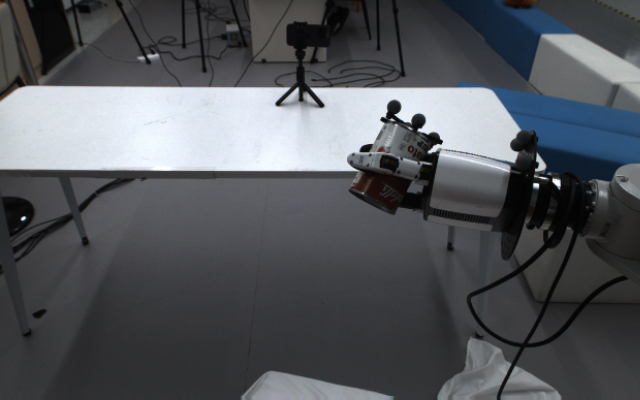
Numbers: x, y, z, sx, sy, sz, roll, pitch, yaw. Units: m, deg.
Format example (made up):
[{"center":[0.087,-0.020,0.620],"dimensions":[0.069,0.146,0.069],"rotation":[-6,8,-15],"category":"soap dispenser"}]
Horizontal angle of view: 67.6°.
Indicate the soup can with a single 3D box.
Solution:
[{"center":[0.090,-0.042,0.618],"dimensions":[0.067,0.101,0.067],"rotation":[28,-3,1],"category":"soup can"}]
